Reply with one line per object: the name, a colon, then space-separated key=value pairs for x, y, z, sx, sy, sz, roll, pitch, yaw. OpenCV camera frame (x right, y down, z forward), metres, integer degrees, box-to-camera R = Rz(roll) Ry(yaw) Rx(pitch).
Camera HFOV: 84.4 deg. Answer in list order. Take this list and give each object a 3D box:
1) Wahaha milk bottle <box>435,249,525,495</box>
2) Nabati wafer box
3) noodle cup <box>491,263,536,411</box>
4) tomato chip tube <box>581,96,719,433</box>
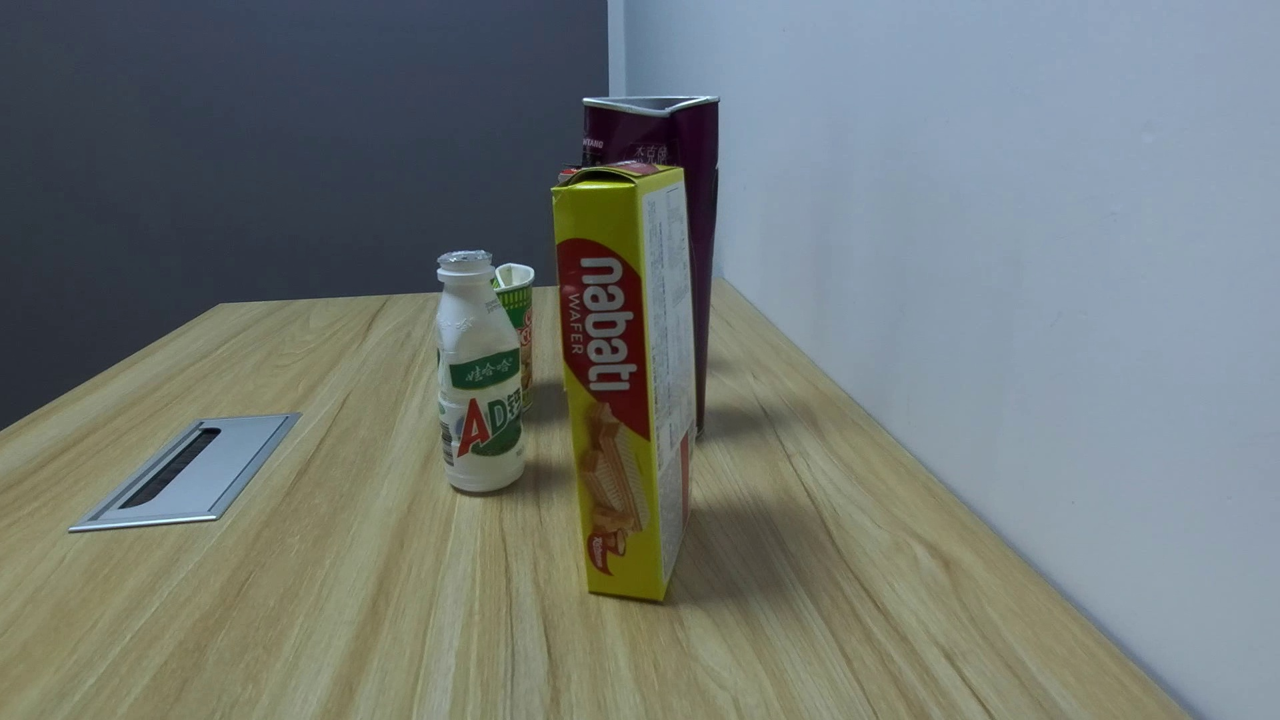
Wahaha milk bottle: x=-0.102 y=0.007 z=0.447 sx=0.055 sy=0.149 sz=0.055 roll=-2 pitch=18 yaw=1
Nabati wafer box: x=0.001 y=0.008 z=0.366 sx=0.042 sy=0.204 sz=0.107 roll=2 pitch=17 yaw=16
noodle cup: x=-0.109 y=-0.005 z=0.508 sx=0.083 sy=0.122 sz=0.075 roll=-11 pitch=26 yaw=-43
tomato chip tube: x=0.011 y=-0.060 z=0.496 sx=0.077 sy=0.235 sz=0.076 roll=7 pitch=20 yaw=23
